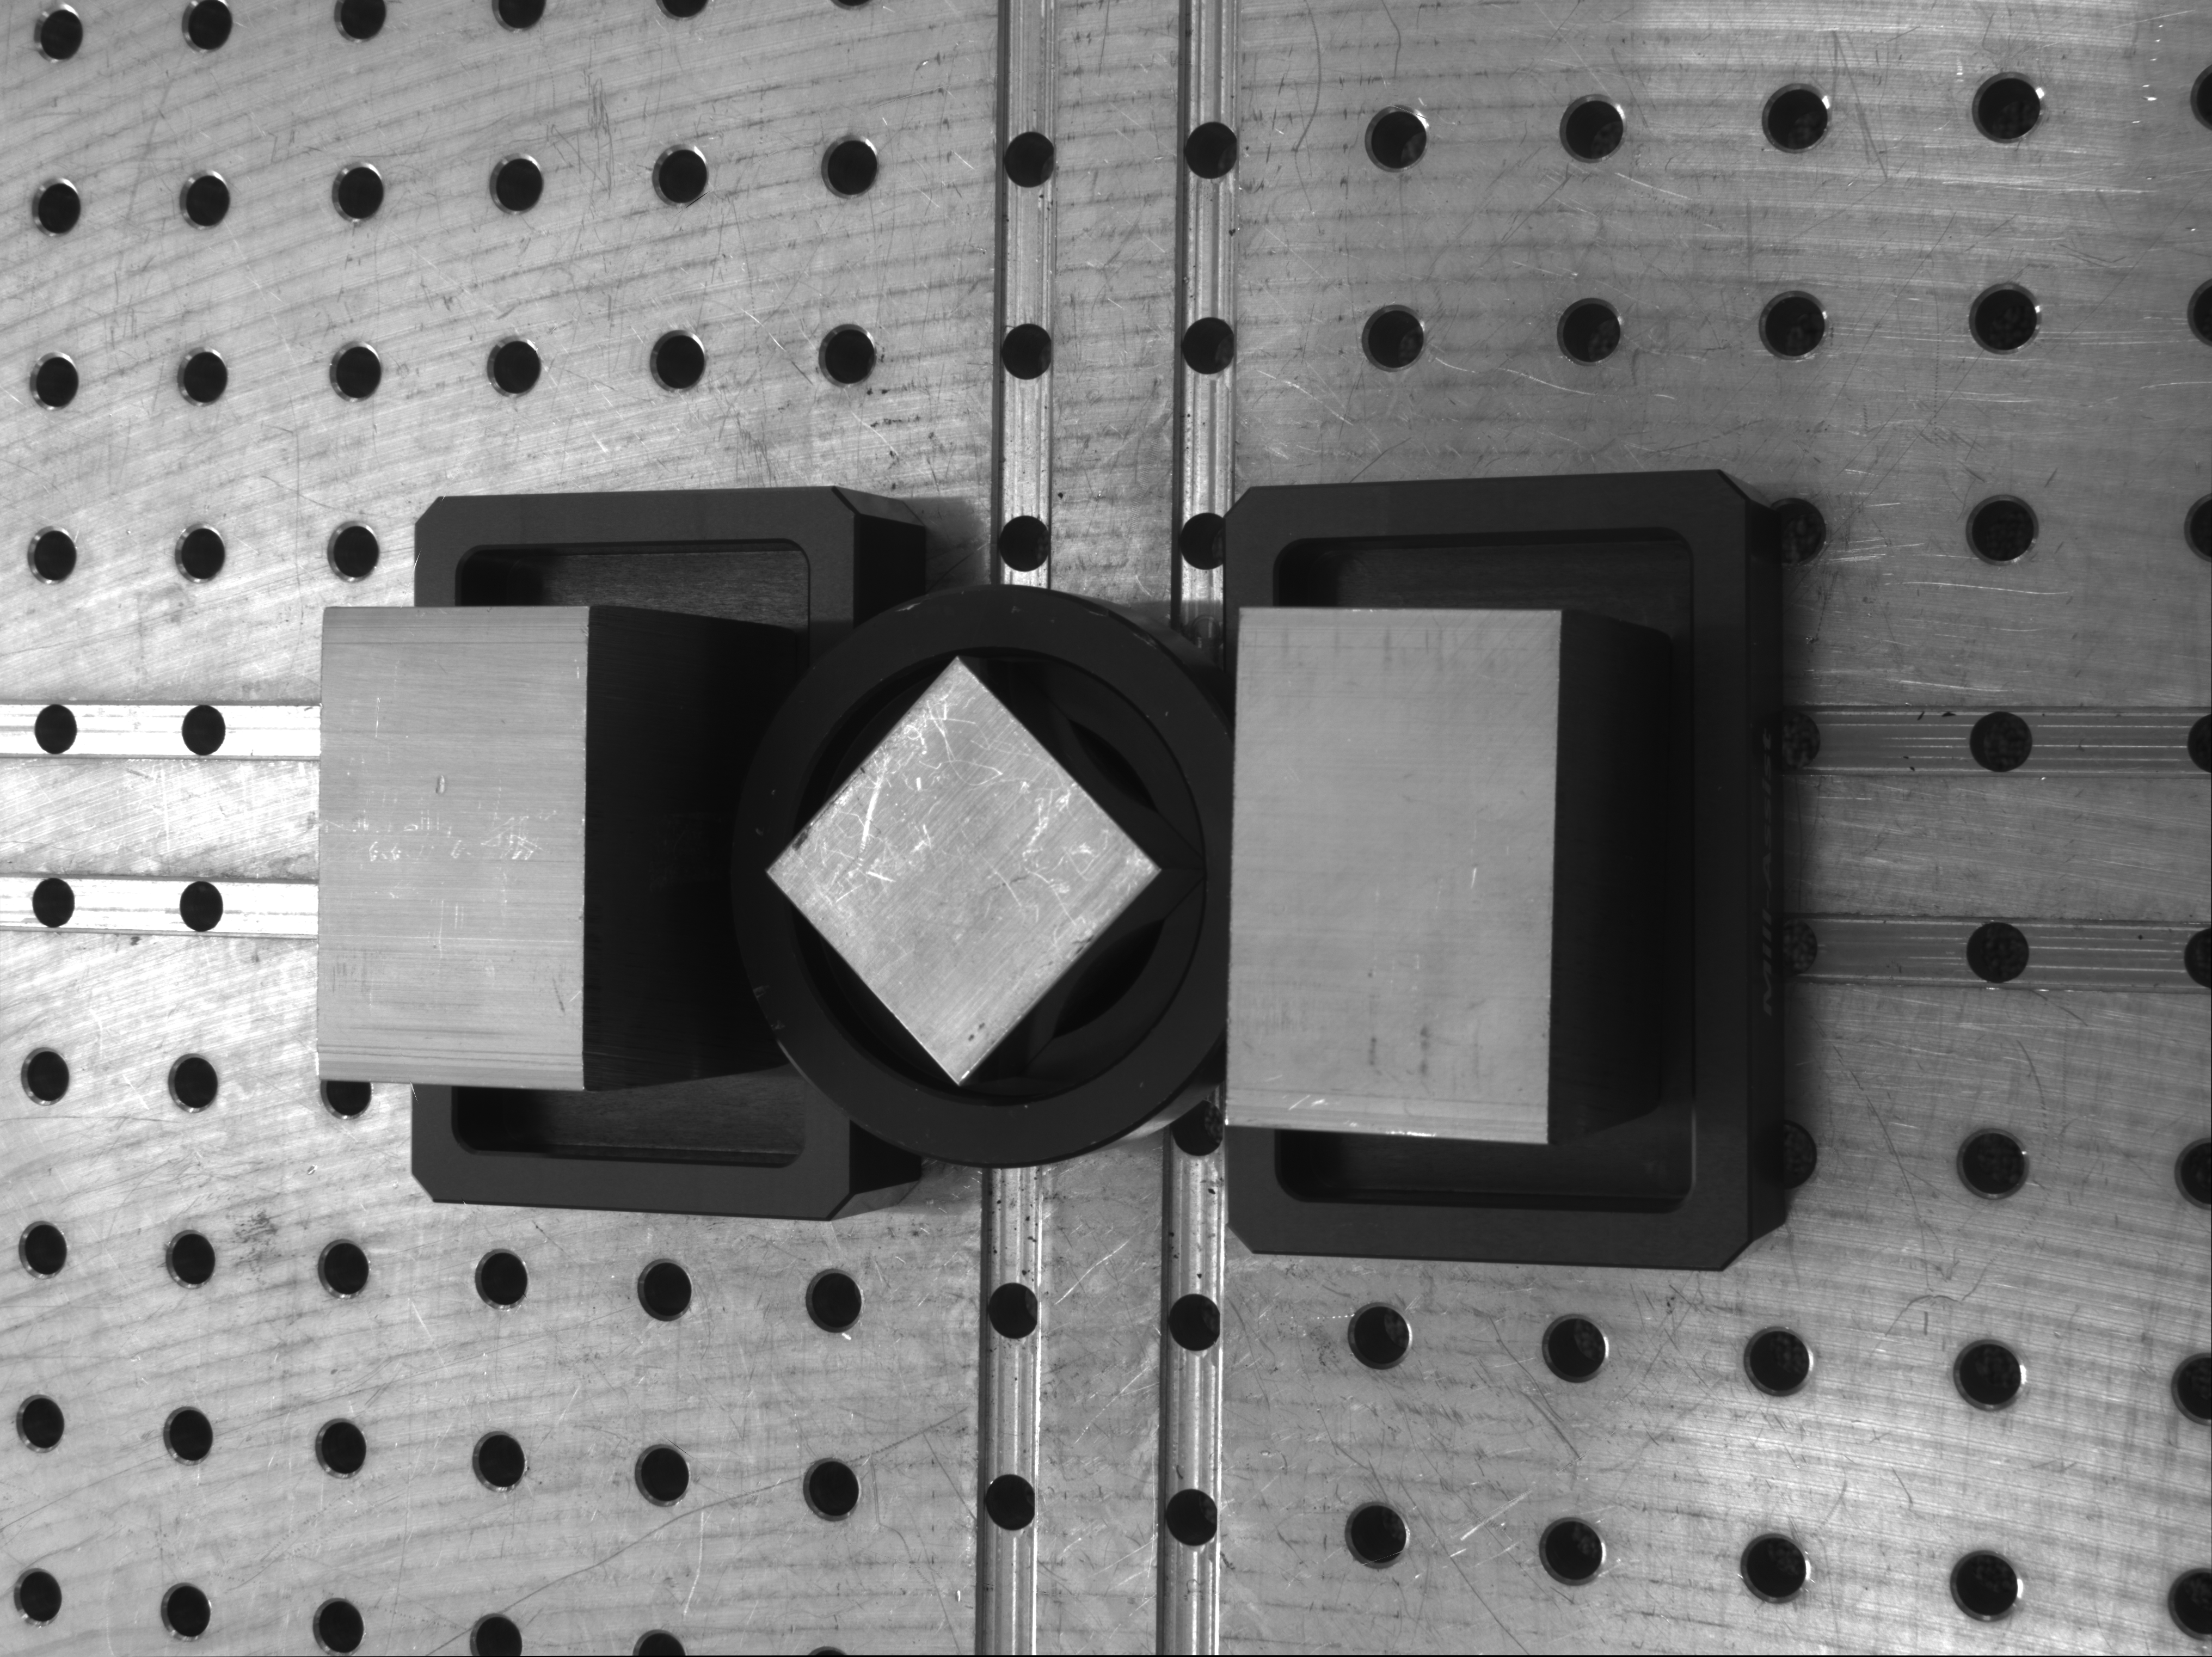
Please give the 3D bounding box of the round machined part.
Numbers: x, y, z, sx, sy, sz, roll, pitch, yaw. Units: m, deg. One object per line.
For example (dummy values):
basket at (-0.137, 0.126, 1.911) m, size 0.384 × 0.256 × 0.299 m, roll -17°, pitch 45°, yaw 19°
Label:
round machined part at (-0.012, 0.008, 0.635) m, size 0.098 × 0.042 × 0.098 m, roll 0°, pitch 90°, yaw 20°

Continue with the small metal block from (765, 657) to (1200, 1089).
small metal block at (-0.020, 0.007, 0.612) m, size 0.050 × 0.025 × 0.050 m, roll 46°, pitch 104°, yaw 14°

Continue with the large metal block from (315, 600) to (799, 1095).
large metal block at (-0.094, 0.003, 0.639) m, size 0.050 × 0.080 × 0.080 m, roll 1°, pitch 90°, yaw 20°

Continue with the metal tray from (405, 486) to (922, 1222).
metal tray at (-0.082, 0.004, 0.675) m, size 0.090 × 0.030 × 0.130 m, roll 1°, pitch 90°, yaw 20°

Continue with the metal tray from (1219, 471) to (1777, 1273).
metal tray at (0.066, 0.007, 0.621) m, size 0.090 × 0.030 × 0.130 m, roll 0°, pitch 90°, yaw 20°

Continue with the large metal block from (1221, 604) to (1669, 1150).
large metal block at (0.056, 0.007, 0.585) m, size 0.050 × 0.080 × 0.080 m, roll 2°, pitch 90°, yaw 20°
